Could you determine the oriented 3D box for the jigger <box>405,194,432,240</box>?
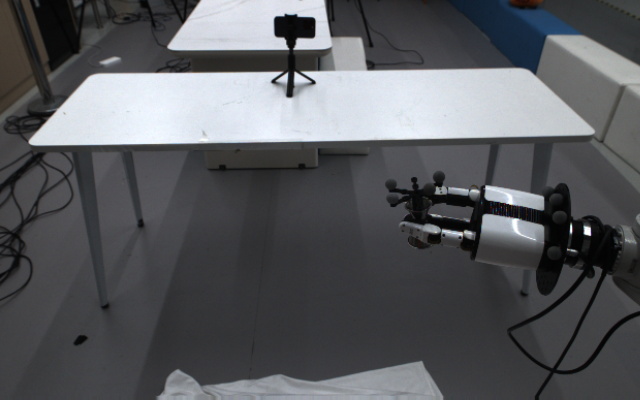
[{"bbox_3d":[0.149,0.032,0.723,0.043,0.071,0.043,-10,32,6],"label":"jigger"}]
